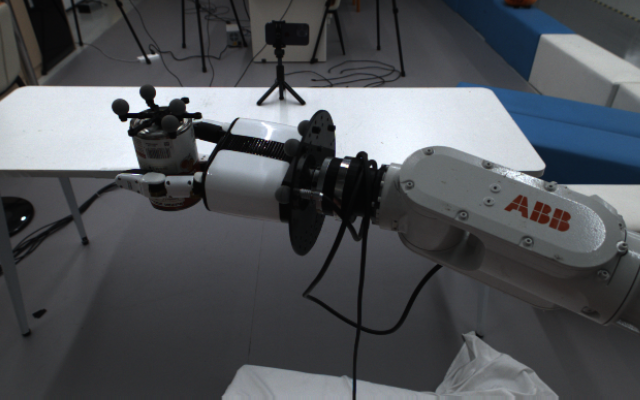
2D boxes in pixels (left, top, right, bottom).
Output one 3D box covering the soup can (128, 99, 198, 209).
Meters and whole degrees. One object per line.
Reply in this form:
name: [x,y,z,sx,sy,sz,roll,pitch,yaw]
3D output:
soup can: [-0.172,-0.046,0.557,0.067,0.101,0.067,1,39,-1]
